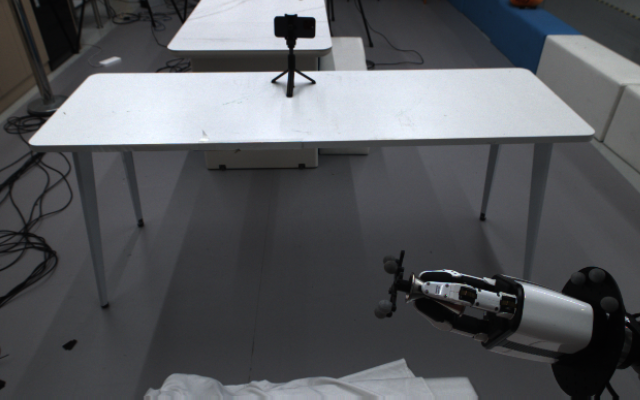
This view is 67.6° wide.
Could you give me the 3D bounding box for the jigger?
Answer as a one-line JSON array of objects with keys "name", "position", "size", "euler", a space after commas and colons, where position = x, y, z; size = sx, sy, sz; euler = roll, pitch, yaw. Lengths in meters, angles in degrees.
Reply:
[{"name": "jigger", "position": [0.152, 0.114, 0.607], "size": [0.071, 0.043, 0.043], "euler": [13, 36, 3]}]
